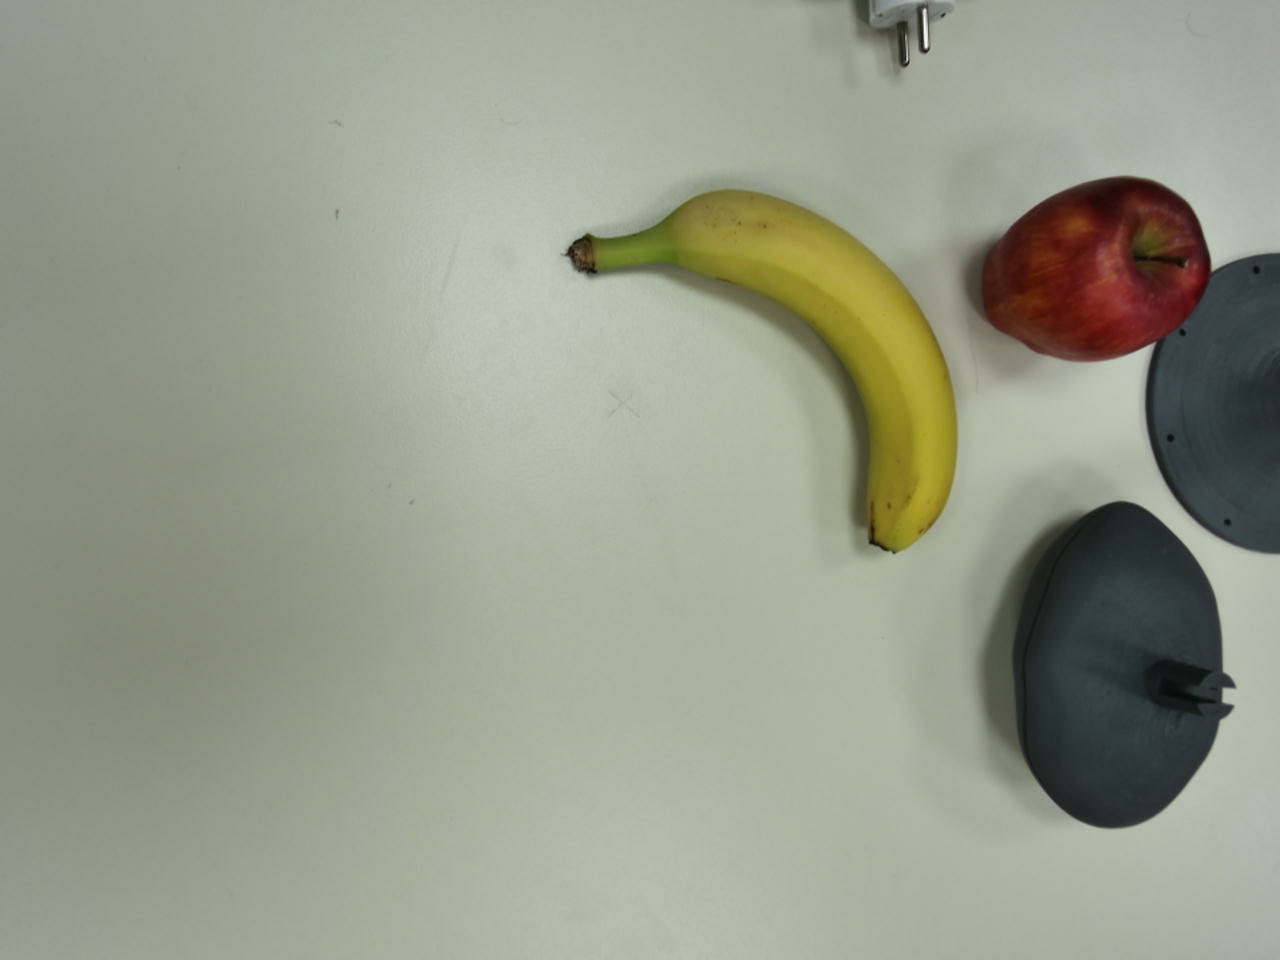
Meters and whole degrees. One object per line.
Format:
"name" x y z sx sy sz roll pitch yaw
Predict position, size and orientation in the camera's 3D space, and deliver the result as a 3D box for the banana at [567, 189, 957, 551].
"banana" 0.072 -0.064 0.434 0.196 0.041 0.094 44 82 -8
